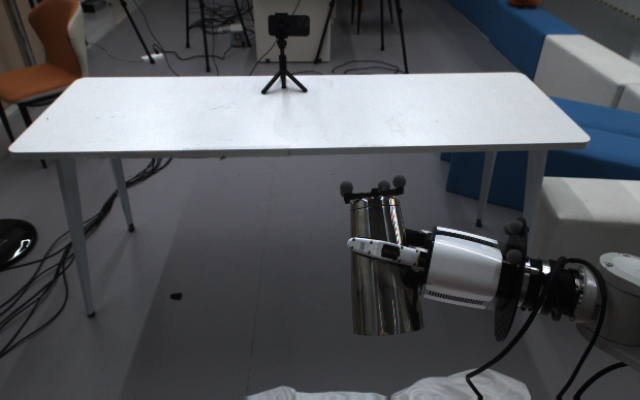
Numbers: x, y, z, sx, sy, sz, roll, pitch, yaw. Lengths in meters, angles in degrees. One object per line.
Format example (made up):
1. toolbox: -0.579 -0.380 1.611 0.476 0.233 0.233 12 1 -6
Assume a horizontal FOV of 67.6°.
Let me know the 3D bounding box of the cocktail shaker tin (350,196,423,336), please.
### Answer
1. cocktail shaker tin: 0.082 0.084 0.640 0.093 0.170 0.093 -6 -7 -1
